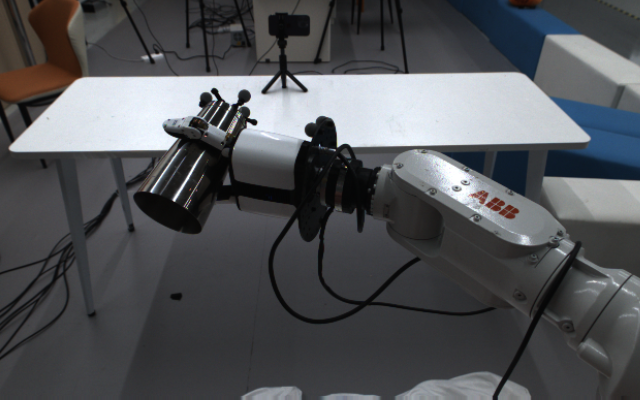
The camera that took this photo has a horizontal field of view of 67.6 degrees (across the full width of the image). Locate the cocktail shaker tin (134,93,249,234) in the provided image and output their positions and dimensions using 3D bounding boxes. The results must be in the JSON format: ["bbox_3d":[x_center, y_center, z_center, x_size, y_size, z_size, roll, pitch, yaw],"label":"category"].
[{"bbox_3d":[-0.163,-0.051,0.643,0.093,0.093,0.170,13,58,16],"label":"cocktail shaker tin"}]
